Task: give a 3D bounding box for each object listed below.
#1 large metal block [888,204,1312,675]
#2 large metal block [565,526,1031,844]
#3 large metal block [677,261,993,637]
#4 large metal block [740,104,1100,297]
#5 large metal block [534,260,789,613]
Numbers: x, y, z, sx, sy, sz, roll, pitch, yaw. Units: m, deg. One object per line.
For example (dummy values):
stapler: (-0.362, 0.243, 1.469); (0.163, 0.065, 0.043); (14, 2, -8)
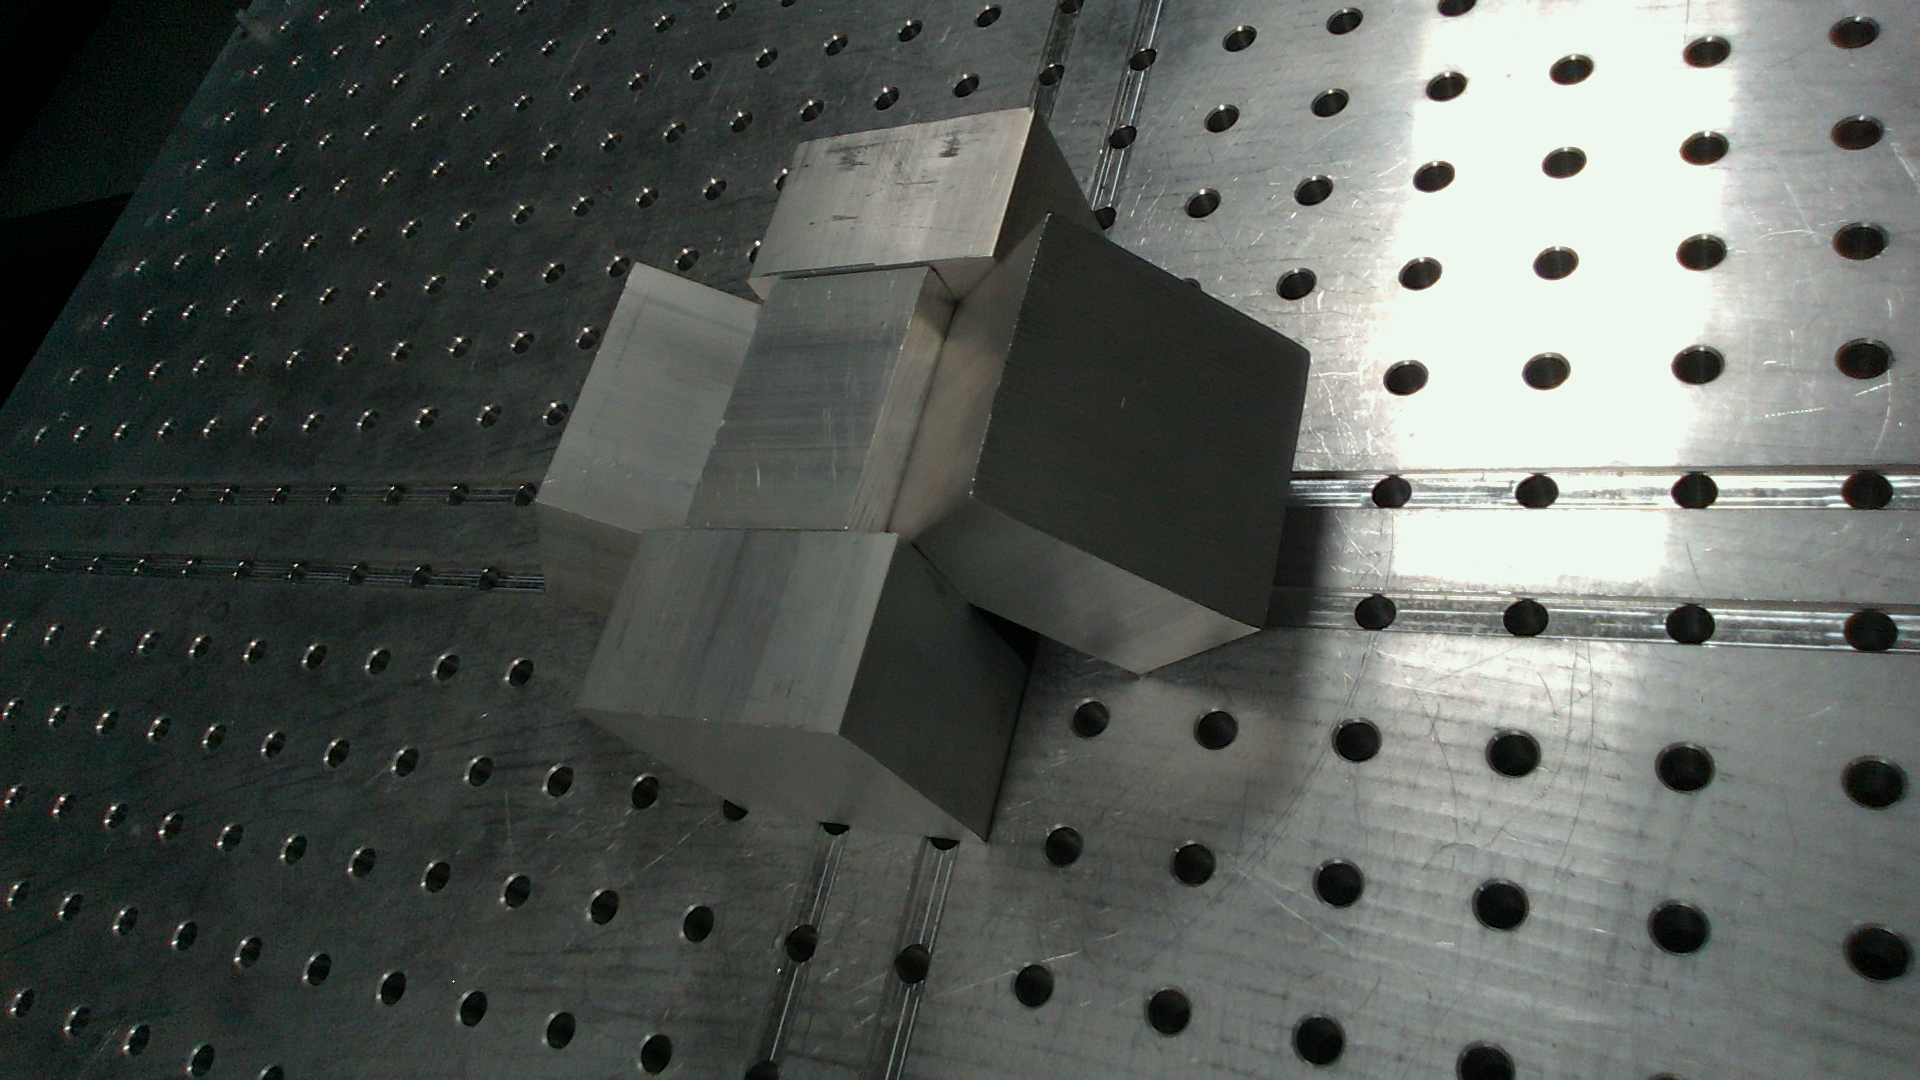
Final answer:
large metal block: (0.035, -0.022, 0.345); (0.050, 0.080, 0.080); (-33, 37, 59)
large metal block: (-0.038, 0.038, 0.357); (0.080, 0.080, 0.050); (1, 62, 29)
large metal block: (-0.023, -0.019, 0.384); (0.050, 0.080, 0.080); (1, 62, 29)
large metal block: (-0.004, -0.077, 0.409); (0.080, 0.080, 0.050); (1, 62, 29)
large metal block: (-0.087, -0.022, 0.414); (0.050, 0.080, 0.080); (18, 66, -7)
